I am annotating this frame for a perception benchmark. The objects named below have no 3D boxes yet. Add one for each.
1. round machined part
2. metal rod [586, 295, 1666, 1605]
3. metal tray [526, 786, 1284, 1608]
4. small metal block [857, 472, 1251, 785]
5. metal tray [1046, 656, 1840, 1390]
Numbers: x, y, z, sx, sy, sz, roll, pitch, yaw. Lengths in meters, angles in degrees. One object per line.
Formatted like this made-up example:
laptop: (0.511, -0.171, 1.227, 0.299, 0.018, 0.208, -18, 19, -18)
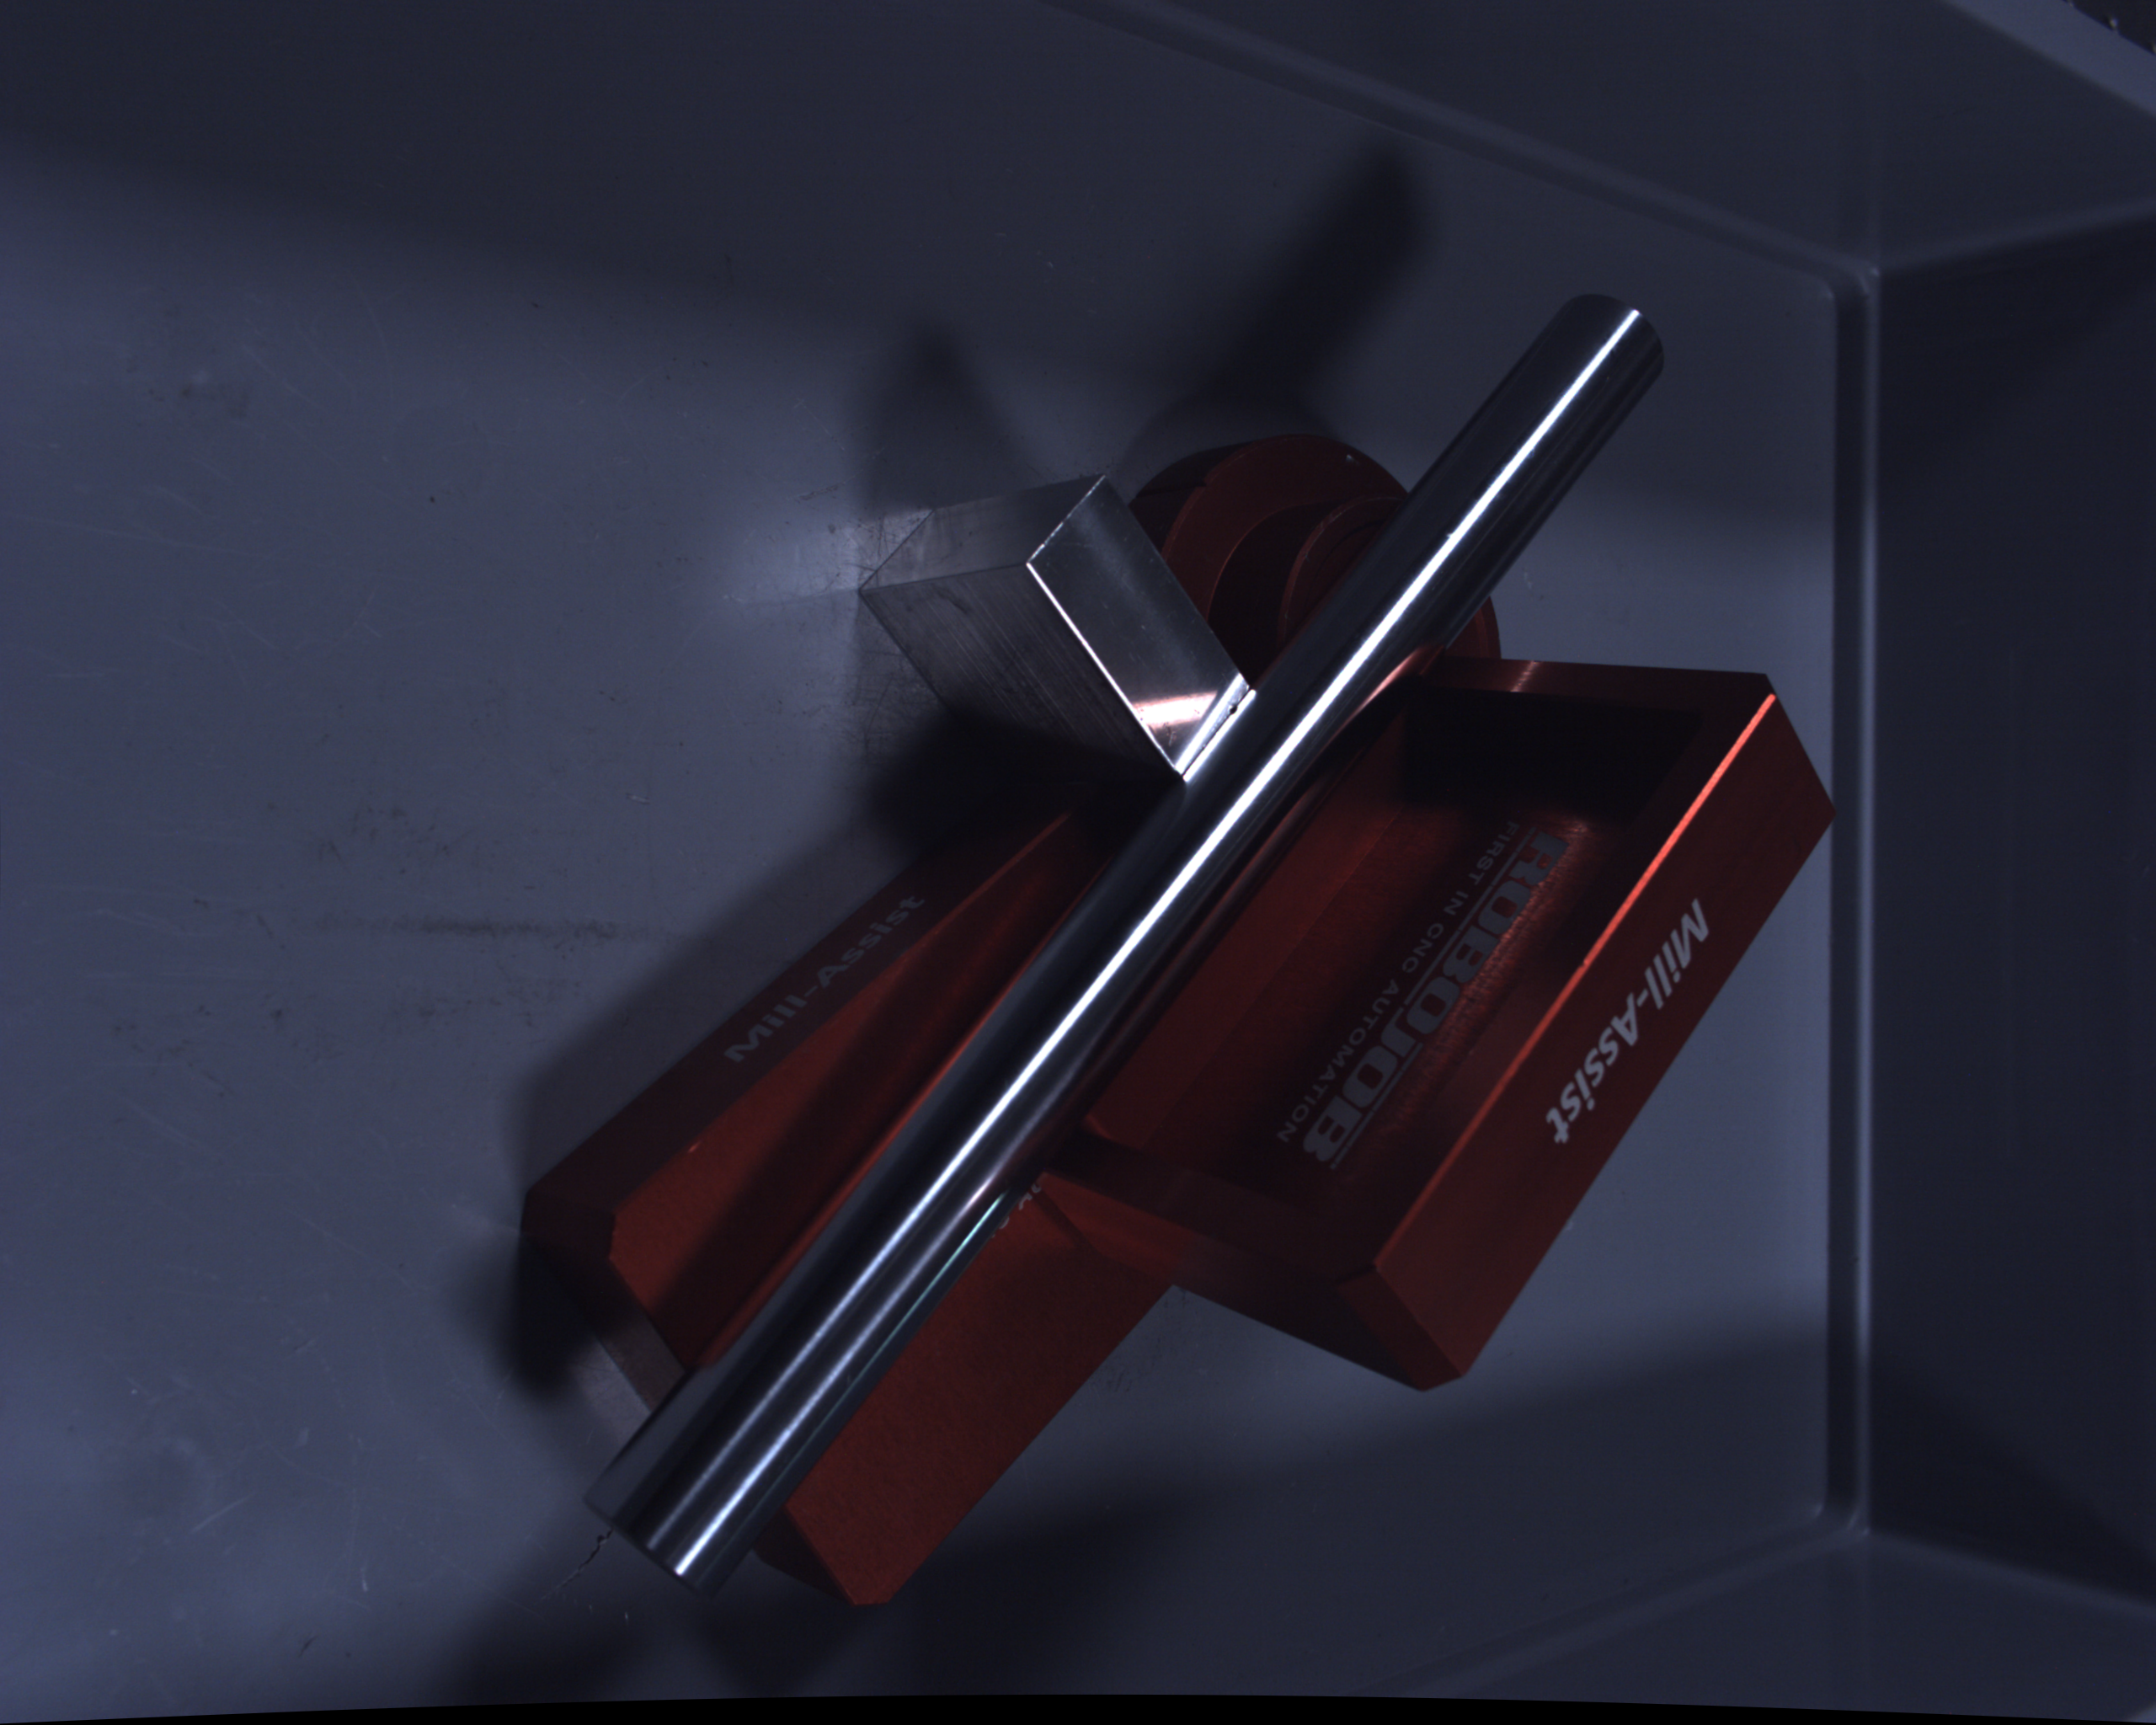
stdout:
round machined part: (0.052, -0.041, 0.439, 0.099, 0.042, 0.097, 0, 90, -40)
metal rod: (0.023, -0.002, 0.375, 0.301, 0.025, 0.025, -50, 120, -24)
metal tray: (-0.024, 0.057, 0.384, 0.131, 0.030, 0.090, -42, 116, -32)
small metal block: (-0.005, -0.041, 0.386, 0.025, 0.050, 0.050, -52, 121, -27)
metal tray: (0.060, 0.020, 0.366, 0.130, 0.090, 0.030, -50, 123, -21)
